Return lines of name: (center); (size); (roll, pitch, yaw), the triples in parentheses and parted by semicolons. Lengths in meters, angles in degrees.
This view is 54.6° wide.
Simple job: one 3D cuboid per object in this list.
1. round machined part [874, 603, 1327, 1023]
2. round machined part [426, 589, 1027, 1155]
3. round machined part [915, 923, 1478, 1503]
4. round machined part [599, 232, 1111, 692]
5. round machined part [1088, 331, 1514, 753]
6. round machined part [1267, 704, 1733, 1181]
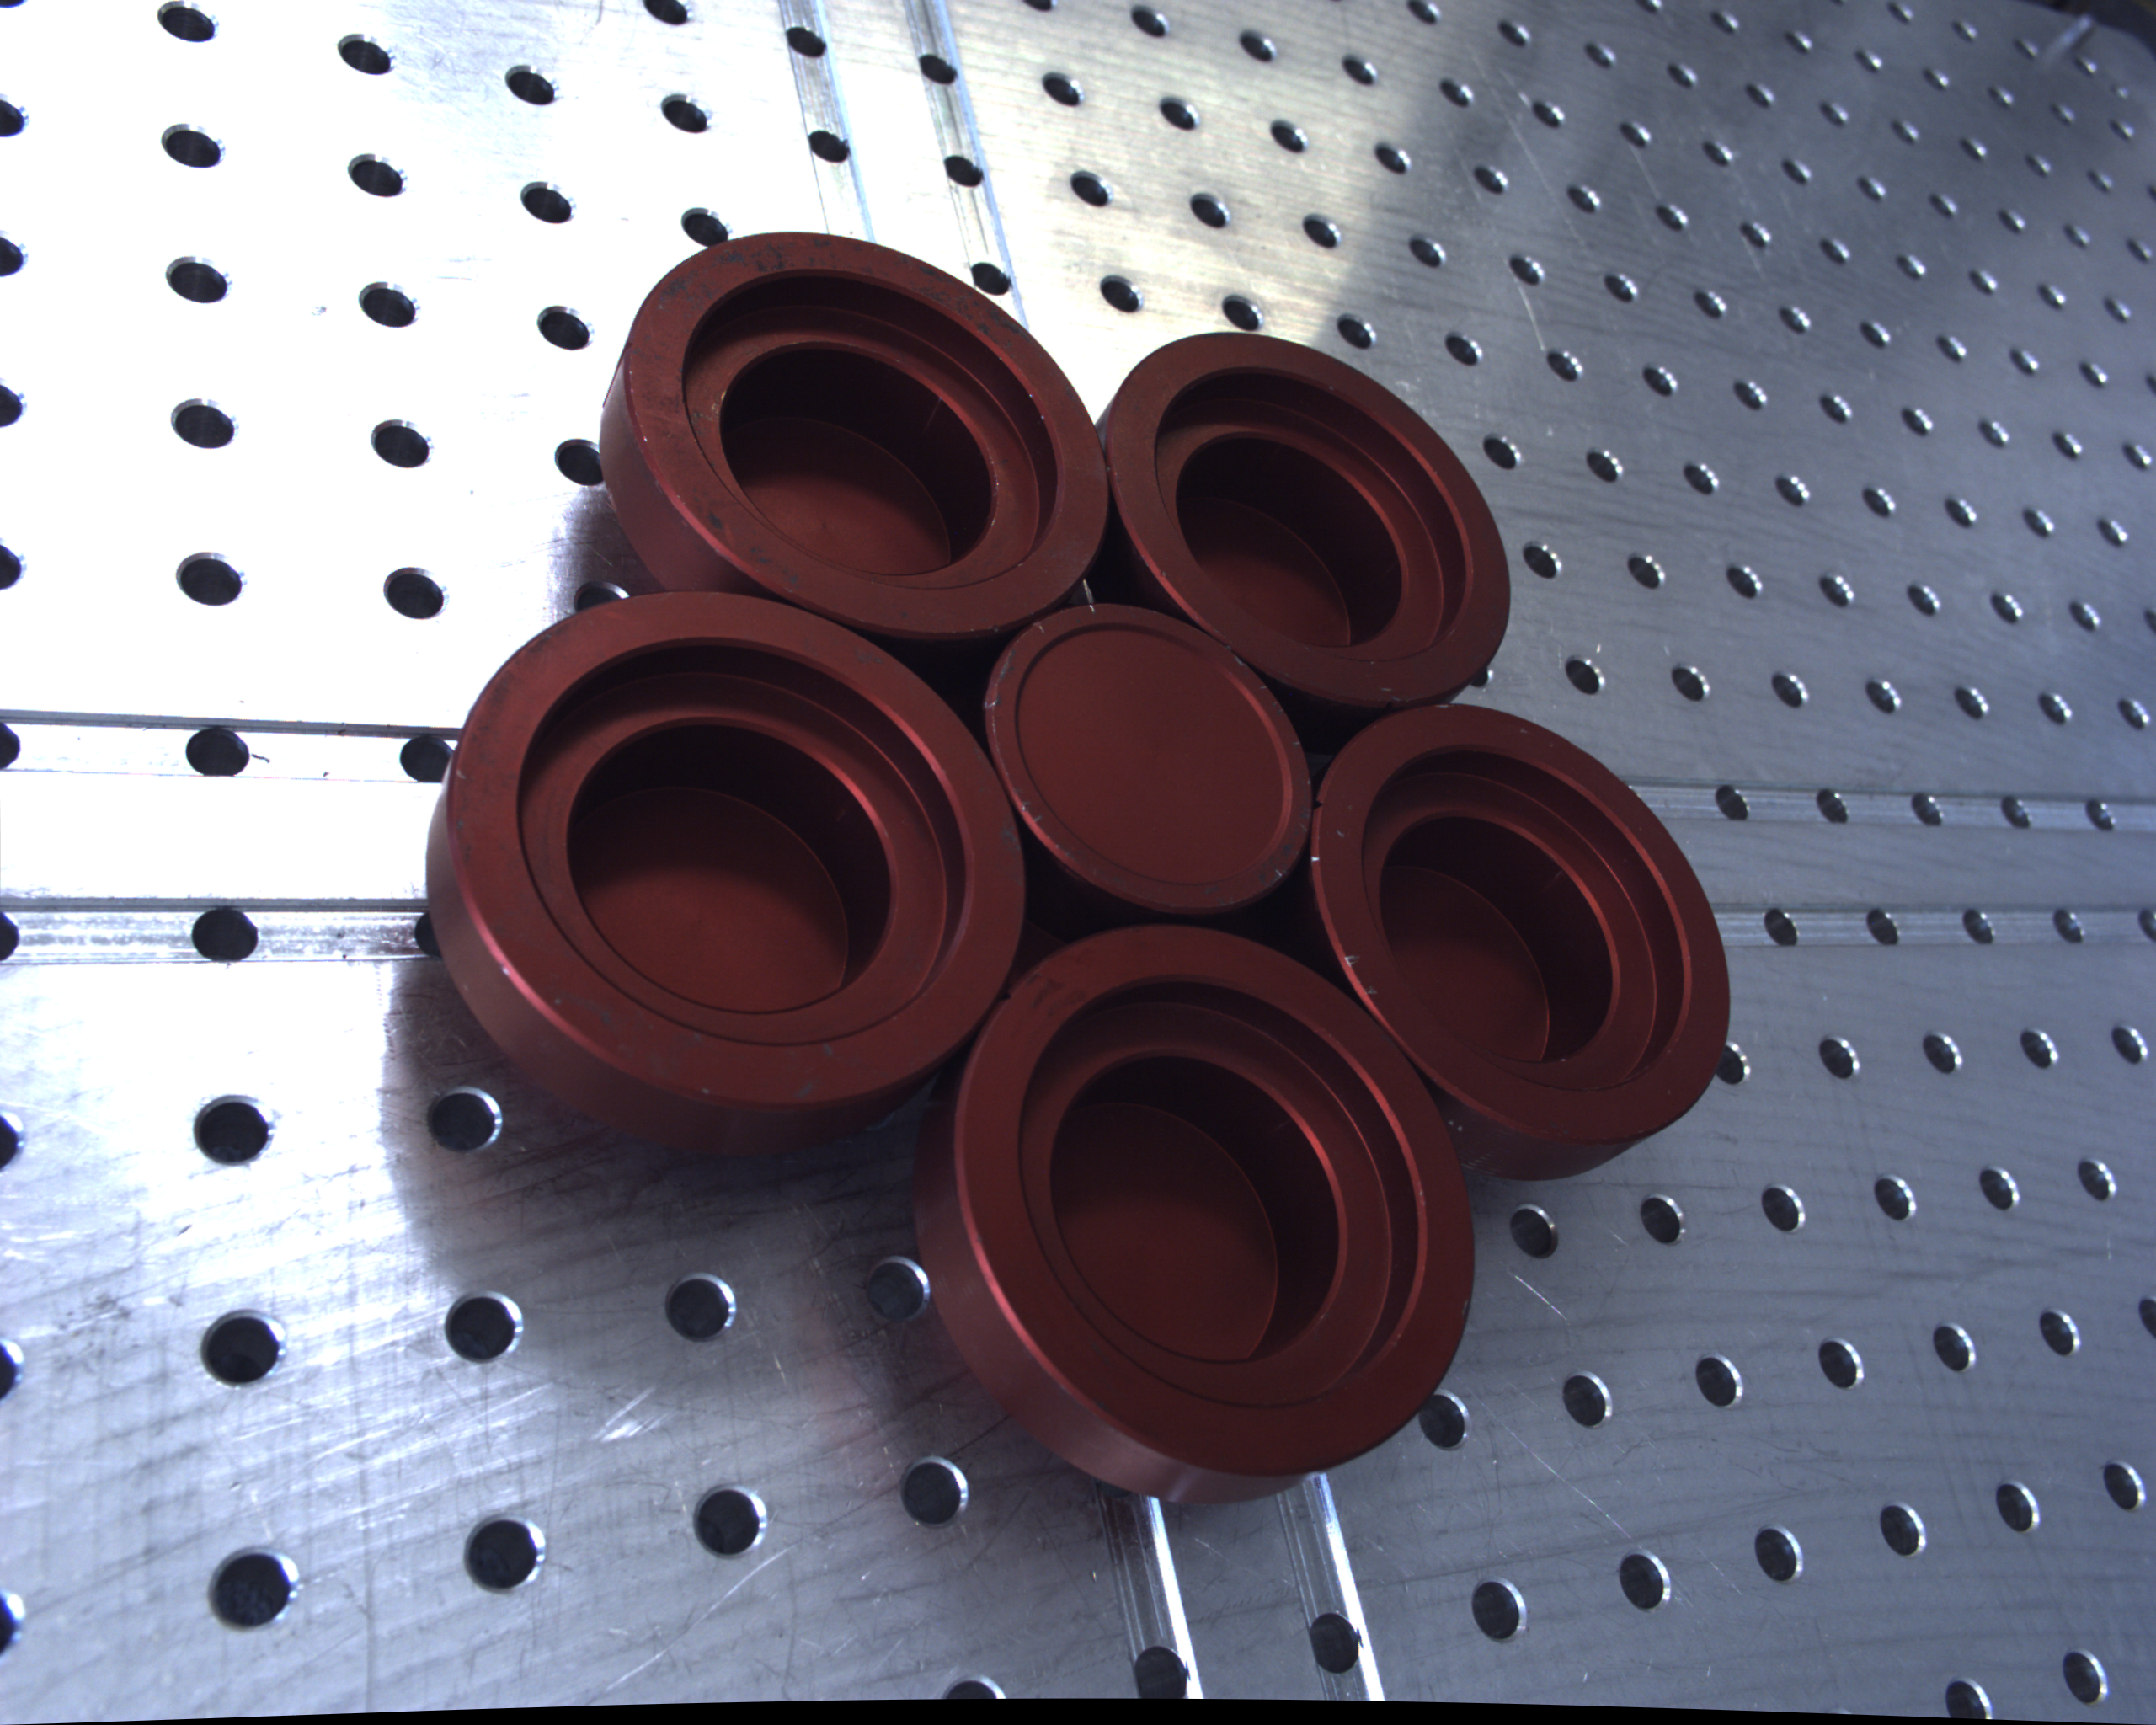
round machined part: (0.006, -0.011, 0.406); (0.099, 0.042, 0.098); (13, 56, -21)
round machined part: (-0.062, 0.005, 0.360); (0.099, 0.042, 0.098); (13, 56, -21)
round machined part: (0.017, 0.063, 0.367); (0.099, 0.042, 0.098); (13, 56, -21)
round machined part: (-0.047, -0.074, 0.417); (0.099, 0.042, 0.098); (13, 56, -21)
round machined part: (0.043, -0.065, 0.459); (0.099, 0.042, 0.098); (13, 56, -21)
round machined part: (0.081, 0.019, 0.428); (0.099, 0.042, 0.098); (13, 56, -21)
